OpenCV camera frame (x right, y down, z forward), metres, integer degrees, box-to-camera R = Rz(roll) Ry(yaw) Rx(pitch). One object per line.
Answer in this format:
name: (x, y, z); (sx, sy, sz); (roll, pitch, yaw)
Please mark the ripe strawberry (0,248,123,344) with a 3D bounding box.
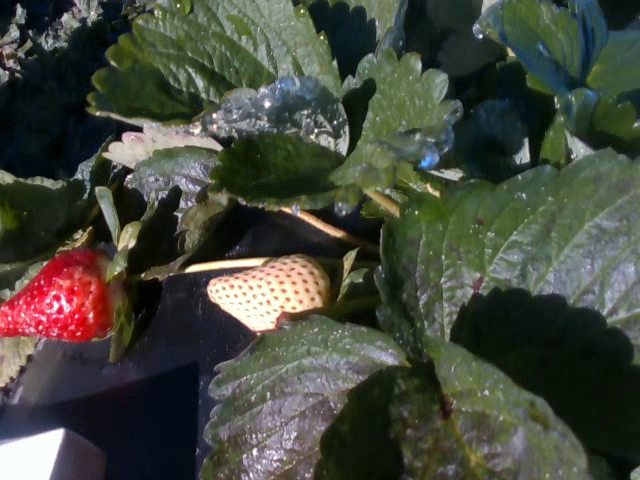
ripe strawberry: (-0.107, 0.024, 0.278); (0.068, 0.040, 0.048); (-25, 36, 6)
